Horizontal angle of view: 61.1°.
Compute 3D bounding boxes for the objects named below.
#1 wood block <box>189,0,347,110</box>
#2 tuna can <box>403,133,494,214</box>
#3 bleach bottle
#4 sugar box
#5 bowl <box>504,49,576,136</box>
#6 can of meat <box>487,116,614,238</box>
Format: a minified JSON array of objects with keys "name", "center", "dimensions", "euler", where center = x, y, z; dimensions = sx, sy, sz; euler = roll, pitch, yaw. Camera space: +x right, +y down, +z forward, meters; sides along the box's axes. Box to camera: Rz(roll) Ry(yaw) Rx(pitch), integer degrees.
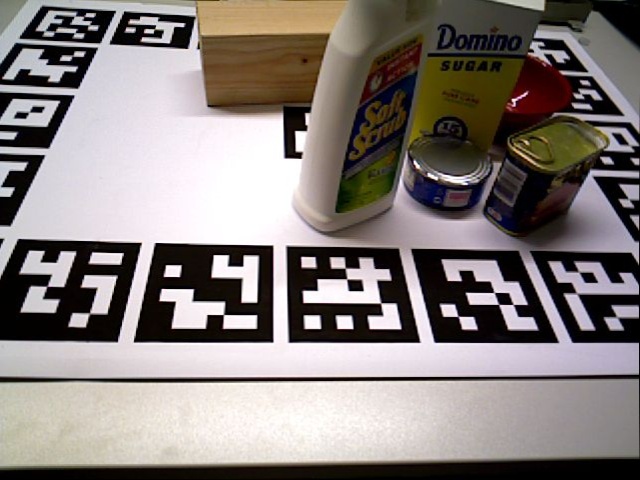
[{"name":"wood block","center":[-0.044,-0.217,0.631],"dimensions":[0.204,0.092,0.090],"euler":[-5,51,-13]},{"name":"tuna can","center":[0.123,-0.066,0.533],"dimensions":[0.085,0.034,0.084],"euler":[3,49,-4]},{"name":"bleach bottle","center":[0.037,-0.126,0.432],"dimensions":[0.101,0.257,0.067],"euler":[-19,50,-24]},{"name":"sugar box","center":[0.148,-0.159,0.527],"dimensions":[0.093,0.180,0.044],"euler":[14,47,11]},{"name":"bowl","center":[0.214,-0.170,0.637],"dimensions":[0.161,0.056,0.159],"euler":[0,45,-1]},{"name":"can of meat","center":[0.212,-0.059,0.511],"dimensions":[0.100,0.086,0.057],"euler":[-22,49,-28]}]
